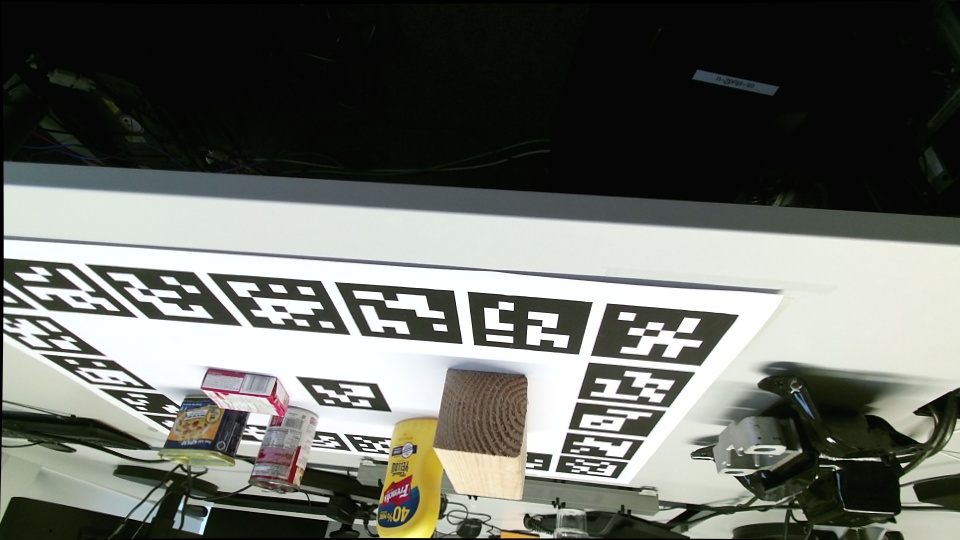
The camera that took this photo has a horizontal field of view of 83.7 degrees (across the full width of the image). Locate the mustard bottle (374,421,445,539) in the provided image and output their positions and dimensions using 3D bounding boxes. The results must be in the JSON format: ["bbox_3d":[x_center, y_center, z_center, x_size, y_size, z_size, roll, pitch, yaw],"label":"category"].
[{"bbox_3d":[-0.091,0.299,0.704,0.096,0.190,0.058,-12,141,27],"label":"mustard bottle"}]

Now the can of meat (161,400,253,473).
[{"bbox_3d":[-0.376,0.231,0.750,0.102,0.083,0.058,-3,142,19],"label":"can of meat"}]

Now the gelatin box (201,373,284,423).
[{"bbox_3d":[-0.301,0.163,0.678,0.090,0.030,0.073,8,143,-4],"label":"gelatin box"}]

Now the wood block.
[{"bbox_3d":[0.008,0.207,0.636,0.091,0.089,0.206,6,148,6],"label":"wood block"}]

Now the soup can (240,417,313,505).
[{"bbox_3d":[-0.280,0.265,0.747,0.068,0.101,0.068,5,143,4],"label":"soup can"}]
